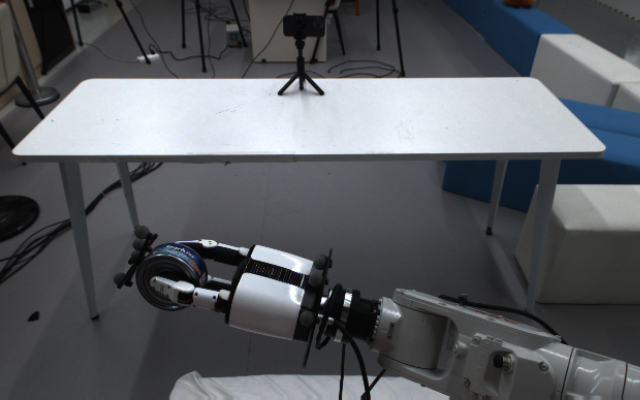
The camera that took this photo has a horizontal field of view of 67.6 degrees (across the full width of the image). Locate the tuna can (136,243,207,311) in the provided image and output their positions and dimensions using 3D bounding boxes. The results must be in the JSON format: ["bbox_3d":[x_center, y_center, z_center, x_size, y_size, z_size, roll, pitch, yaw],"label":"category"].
[{"bbox_3d":[-0.189,0.105,0.626,0.085,0.085,0.034,4,22,2],"label":"tuna can"}]
